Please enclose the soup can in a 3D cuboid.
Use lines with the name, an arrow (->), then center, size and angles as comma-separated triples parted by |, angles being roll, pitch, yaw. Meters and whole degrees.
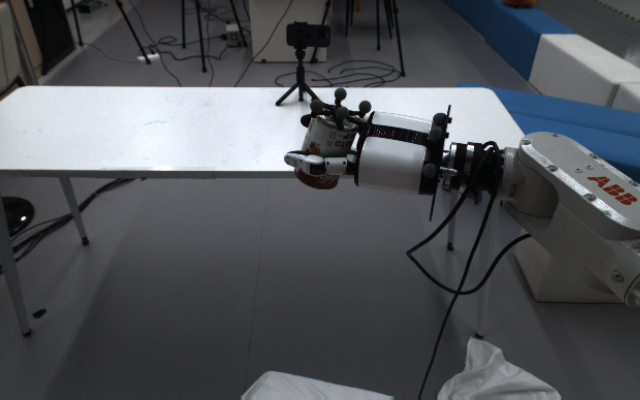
soup can -> 0.010, -0.075, 0.683 | 0.067, 0.101, 0.067 | 14, 35, -10
